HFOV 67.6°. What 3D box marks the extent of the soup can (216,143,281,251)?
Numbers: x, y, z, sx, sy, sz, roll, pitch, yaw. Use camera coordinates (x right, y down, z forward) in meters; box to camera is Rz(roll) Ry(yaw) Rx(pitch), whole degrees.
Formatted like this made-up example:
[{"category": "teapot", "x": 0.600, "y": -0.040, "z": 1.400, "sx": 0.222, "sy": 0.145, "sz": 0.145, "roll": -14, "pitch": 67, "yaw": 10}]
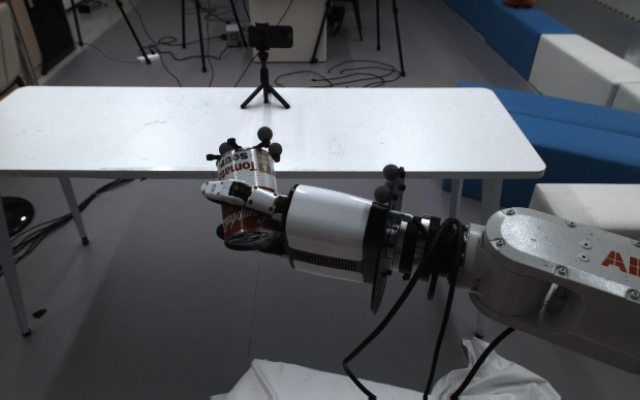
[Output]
[{"category": "soup can", "x": -0.078, "y": -0.001, "z": 0.556, "sx": 0.067, "sy": 0.067, "sz": 0.101, "roll": -7, "pitch": 67, "yaw": -12}]
